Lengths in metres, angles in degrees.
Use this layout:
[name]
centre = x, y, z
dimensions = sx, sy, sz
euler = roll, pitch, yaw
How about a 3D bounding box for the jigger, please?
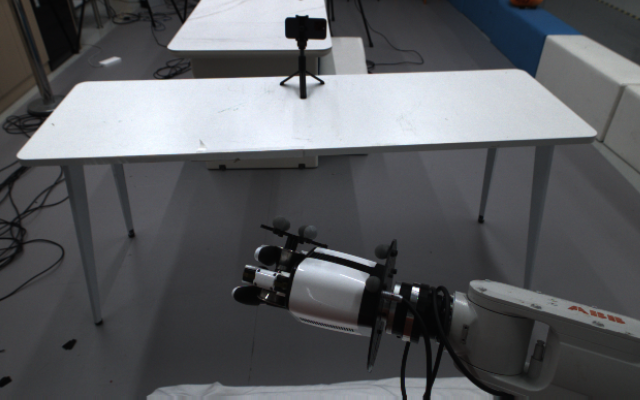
[jigger]
centre = -0.047, 0.094, 0.606
dimensions = 0.043, 0.071, 0.043
euler = 19, -6, 2
